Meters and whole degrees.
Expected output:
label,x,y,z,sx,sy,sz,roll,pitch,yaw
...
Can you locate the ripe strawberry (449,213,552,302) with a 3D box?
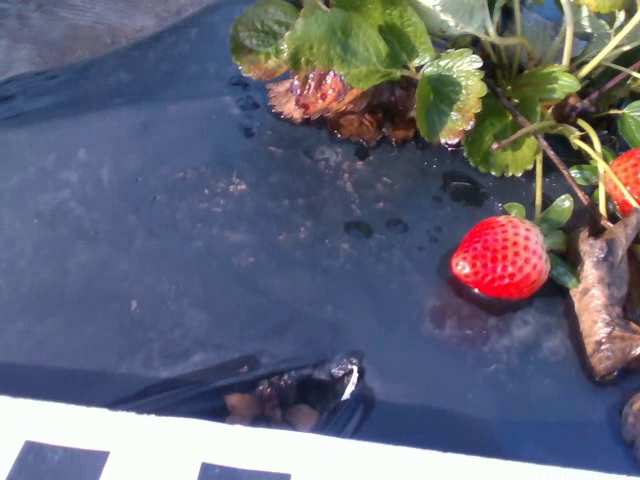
label,x,y,z,sx,sy,sz,roll,pitch,yaw
ripe strawberry,0.062,0.006,0.231,0.043,0.030,0.035,-19,48,-27
